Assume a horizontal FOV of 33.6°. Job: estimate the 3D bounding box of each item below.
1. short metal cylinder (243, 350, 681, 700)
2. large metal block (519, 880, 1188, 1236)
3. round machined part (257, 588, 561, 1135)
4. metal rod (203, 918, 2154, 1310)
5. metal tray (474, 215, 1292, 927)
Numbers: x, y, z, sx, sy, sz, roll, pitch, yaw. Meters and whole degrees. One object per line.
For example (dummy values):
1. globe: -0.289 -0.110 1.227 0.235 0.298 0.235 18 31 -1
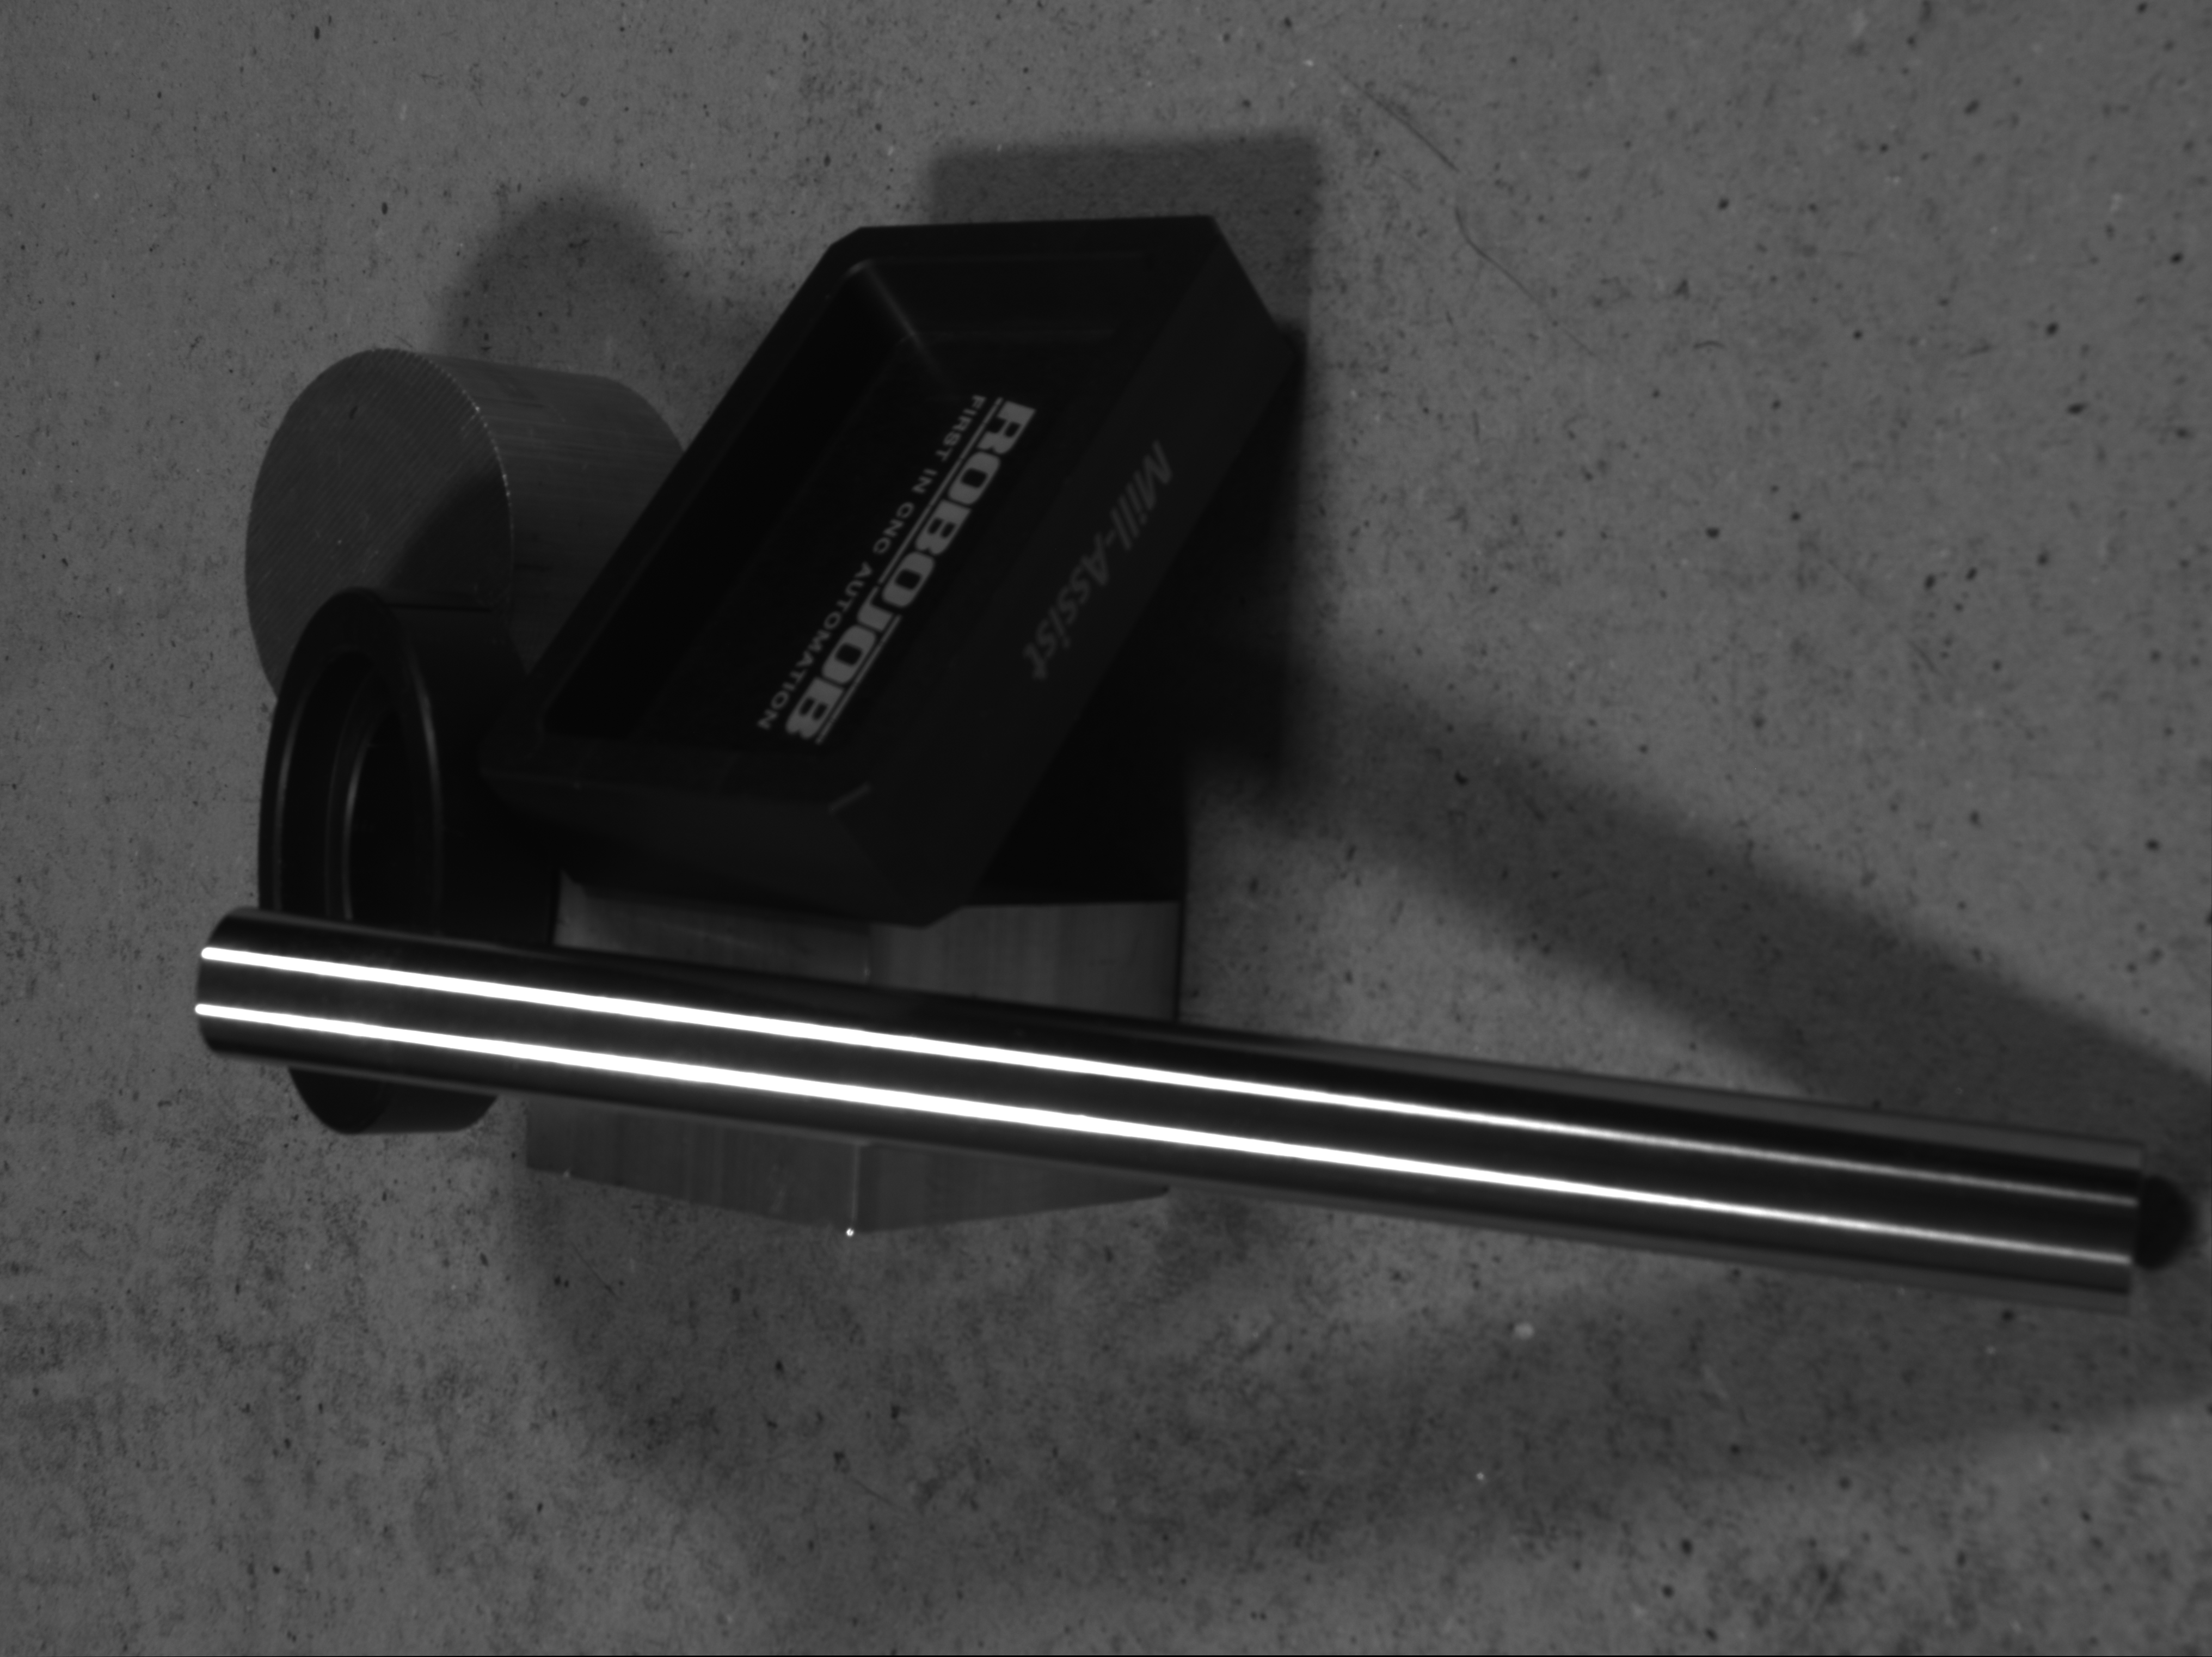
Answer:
1. short metal cylinder: -0.125 -0.052 0.723 0.080 0.050 0.080 0 90 39
2. large metal block: -0.044 0.037 0.636 0.080 0.080 0.050 6 94 39
3. round machined part: -0.119 0.006 0.666 0.098 0.042 0.098 -4 85 60
4. metal rod: 0.003 0.041 0.557 0.300 0.025 0.025 6 94 15
5. metal tray: -0.036 -0.047 0.614 0.090 0.030 0.130 6 54 39
